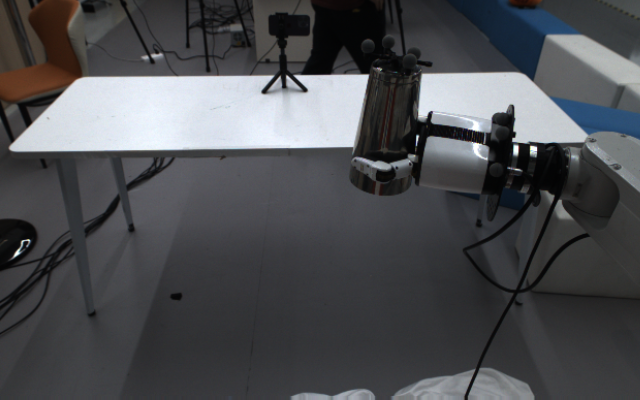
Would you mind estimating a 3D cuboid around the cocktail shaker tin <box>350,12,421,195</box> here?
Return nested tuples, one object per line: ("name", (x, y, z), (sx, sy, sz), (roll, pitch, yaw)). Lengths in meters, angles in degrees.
("cocktail shaker tin", (0.094, -0.103, 0.668), (0.093, 0.170, 0.093), (3, 35, -2))
